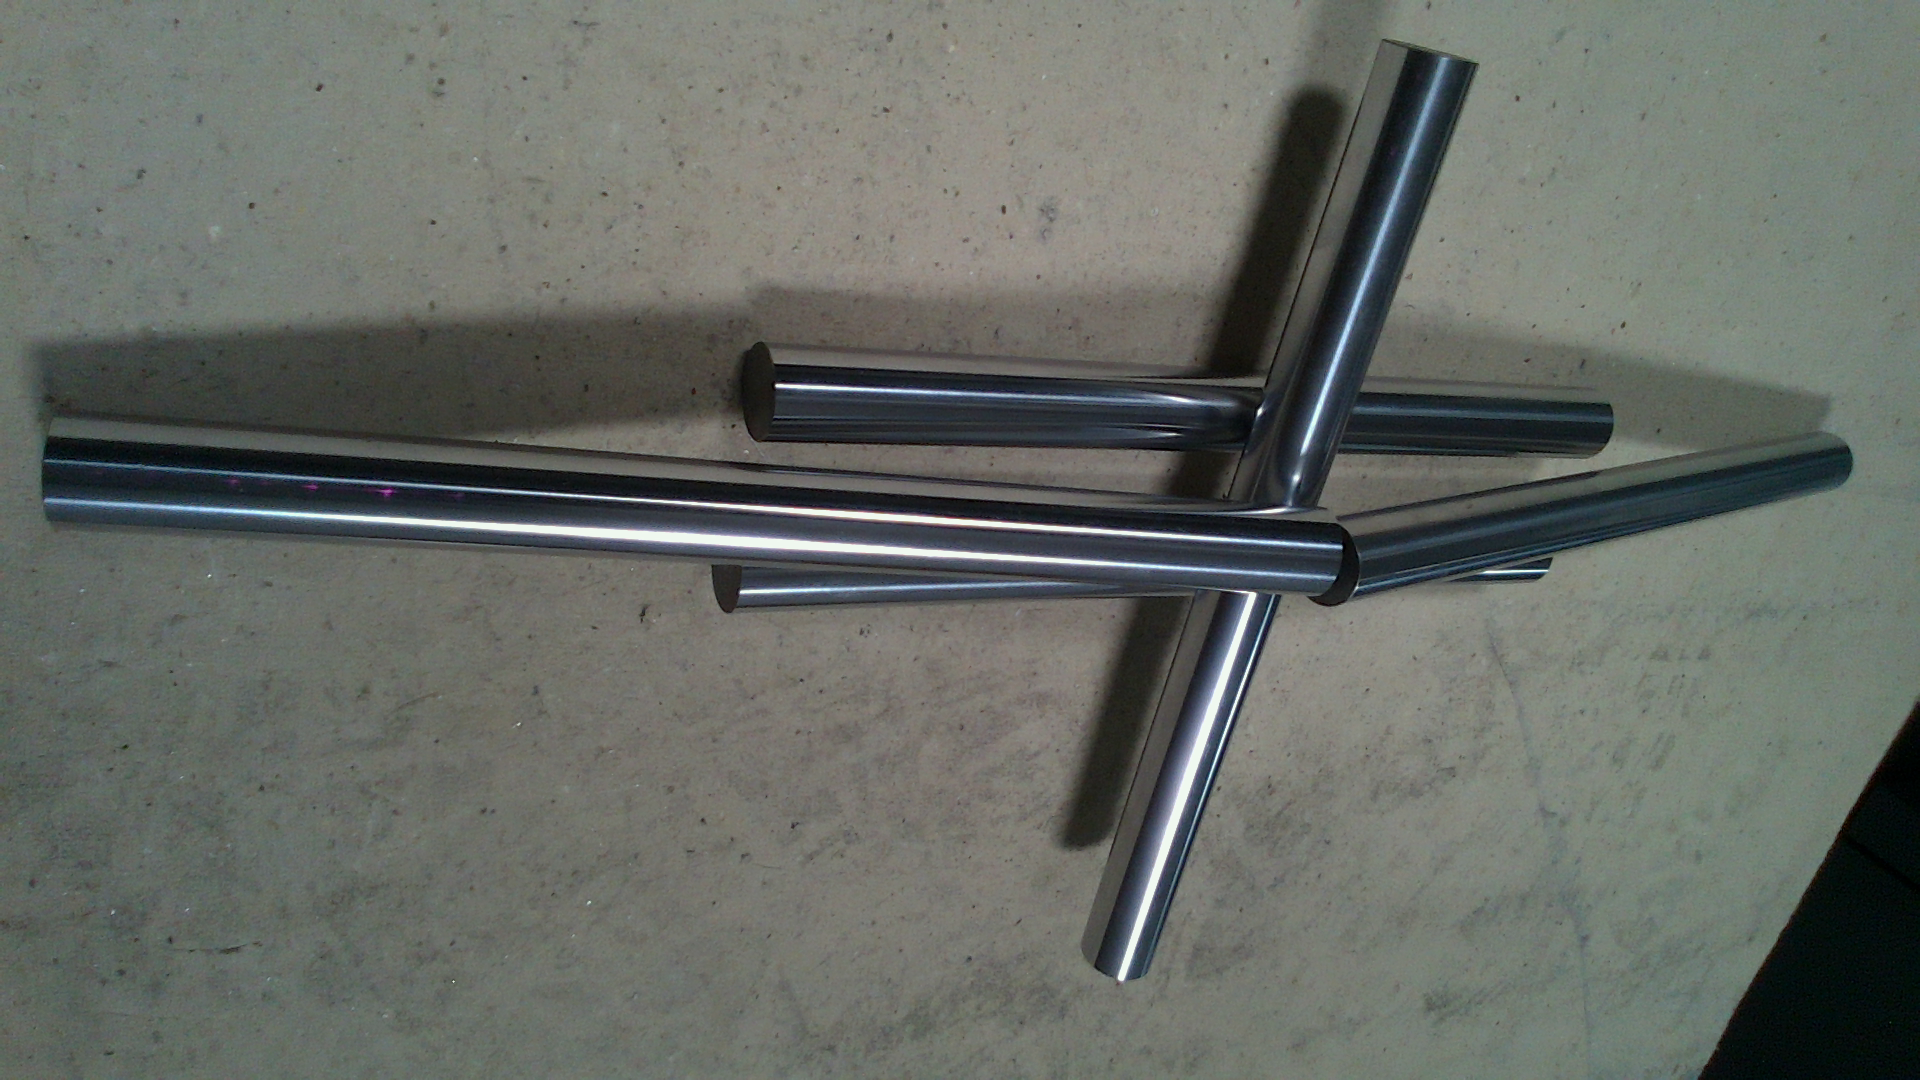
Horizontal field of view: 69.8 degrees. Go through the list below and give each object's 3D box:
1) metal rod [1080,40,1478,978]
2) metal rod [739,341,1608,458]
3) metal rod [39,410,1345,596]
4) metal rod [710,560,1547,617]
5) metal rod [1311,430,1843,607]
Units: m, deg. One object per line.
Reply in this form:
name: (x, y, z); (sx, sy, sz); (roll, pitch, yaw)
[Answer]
metal rod: (0.086, 0.009, 0.409); (0.025, 0.025, 0.300); (-1, 119, -28)
metal rod: (0.082, -0.039, 0.409); (0.301, 0.025, 0.025); (-1, 119, -28)
metal rod: (-0.042, -0.006, 0.331); (0.301, 0.025, 0.025); (3, 117, -19)
metal rod: (0.071, 0.005, 0.430); (0.301, 0.025, 0.025); (-1, 119, -28)
metal rod: (0.223, -0.013, 0.470); (0.301, 0.025, 0.025); (-9, 123, -35)
